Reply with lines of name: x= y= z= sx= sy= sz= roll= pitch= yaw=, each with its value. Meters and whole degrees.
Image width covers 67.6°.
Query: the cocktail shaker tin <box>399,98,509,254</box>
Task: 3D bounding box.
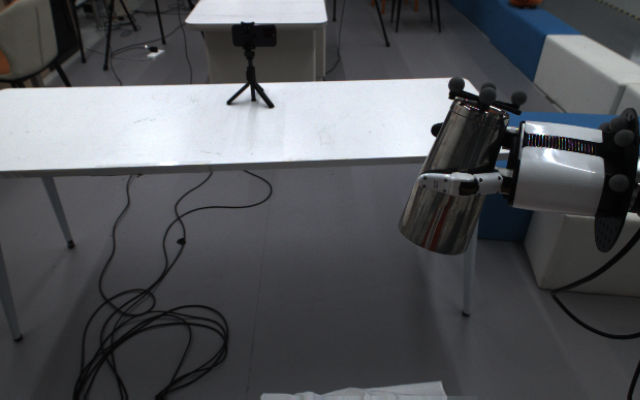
cocktail shaker tin: x=0.166 y=-0.033 z=0.584 sx=0.093 sy=0.170 sz=0.093 roll=12 pitch=24 yaw=-5
